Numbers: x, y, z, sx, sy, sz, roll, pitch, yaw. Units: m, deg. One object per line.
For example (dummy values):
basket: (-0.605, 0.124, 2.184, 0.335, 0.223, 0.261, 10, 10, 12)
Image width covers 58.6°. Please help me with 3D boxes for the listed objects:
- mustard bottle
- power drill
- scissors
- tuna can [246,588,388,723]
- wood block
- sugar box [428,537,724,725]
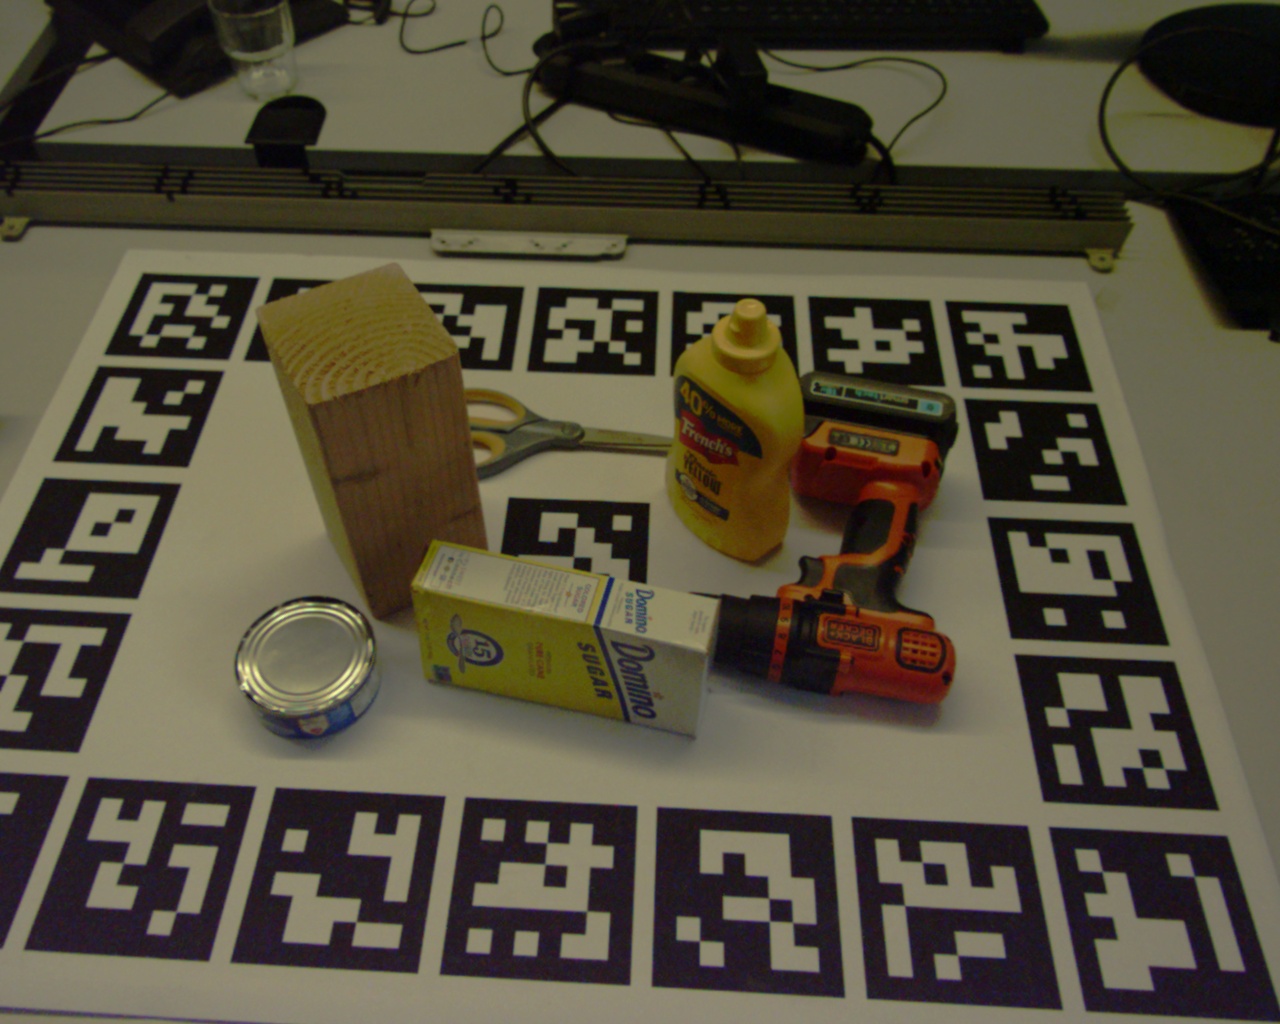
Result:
mustard bottle: (0.059, -0.056, 0.764, 0.058, 0.191, 0.097, -32, 61, -22)
power drill: (0.104, 0.022, 0.778, 0.185, 0.057, 0.187, 12, 61, 10)
scissors: (-0.079, -0.063, 0.868, 0.203, 0.016, 0.088, 4, 49, 3)
tuna can: (-0.207, 0.092, 0.737, 0.086, 0.033, 0.086, 0, 54, -1)
wood block: (-0.161, -0.037, 0.743, 0.090, 0.205, 0.091, -21, 57, -16)
sugar box: (-0.041, 0.077, 0.717, 0.177, 0.092, 0.045, 13, 50, 7)
